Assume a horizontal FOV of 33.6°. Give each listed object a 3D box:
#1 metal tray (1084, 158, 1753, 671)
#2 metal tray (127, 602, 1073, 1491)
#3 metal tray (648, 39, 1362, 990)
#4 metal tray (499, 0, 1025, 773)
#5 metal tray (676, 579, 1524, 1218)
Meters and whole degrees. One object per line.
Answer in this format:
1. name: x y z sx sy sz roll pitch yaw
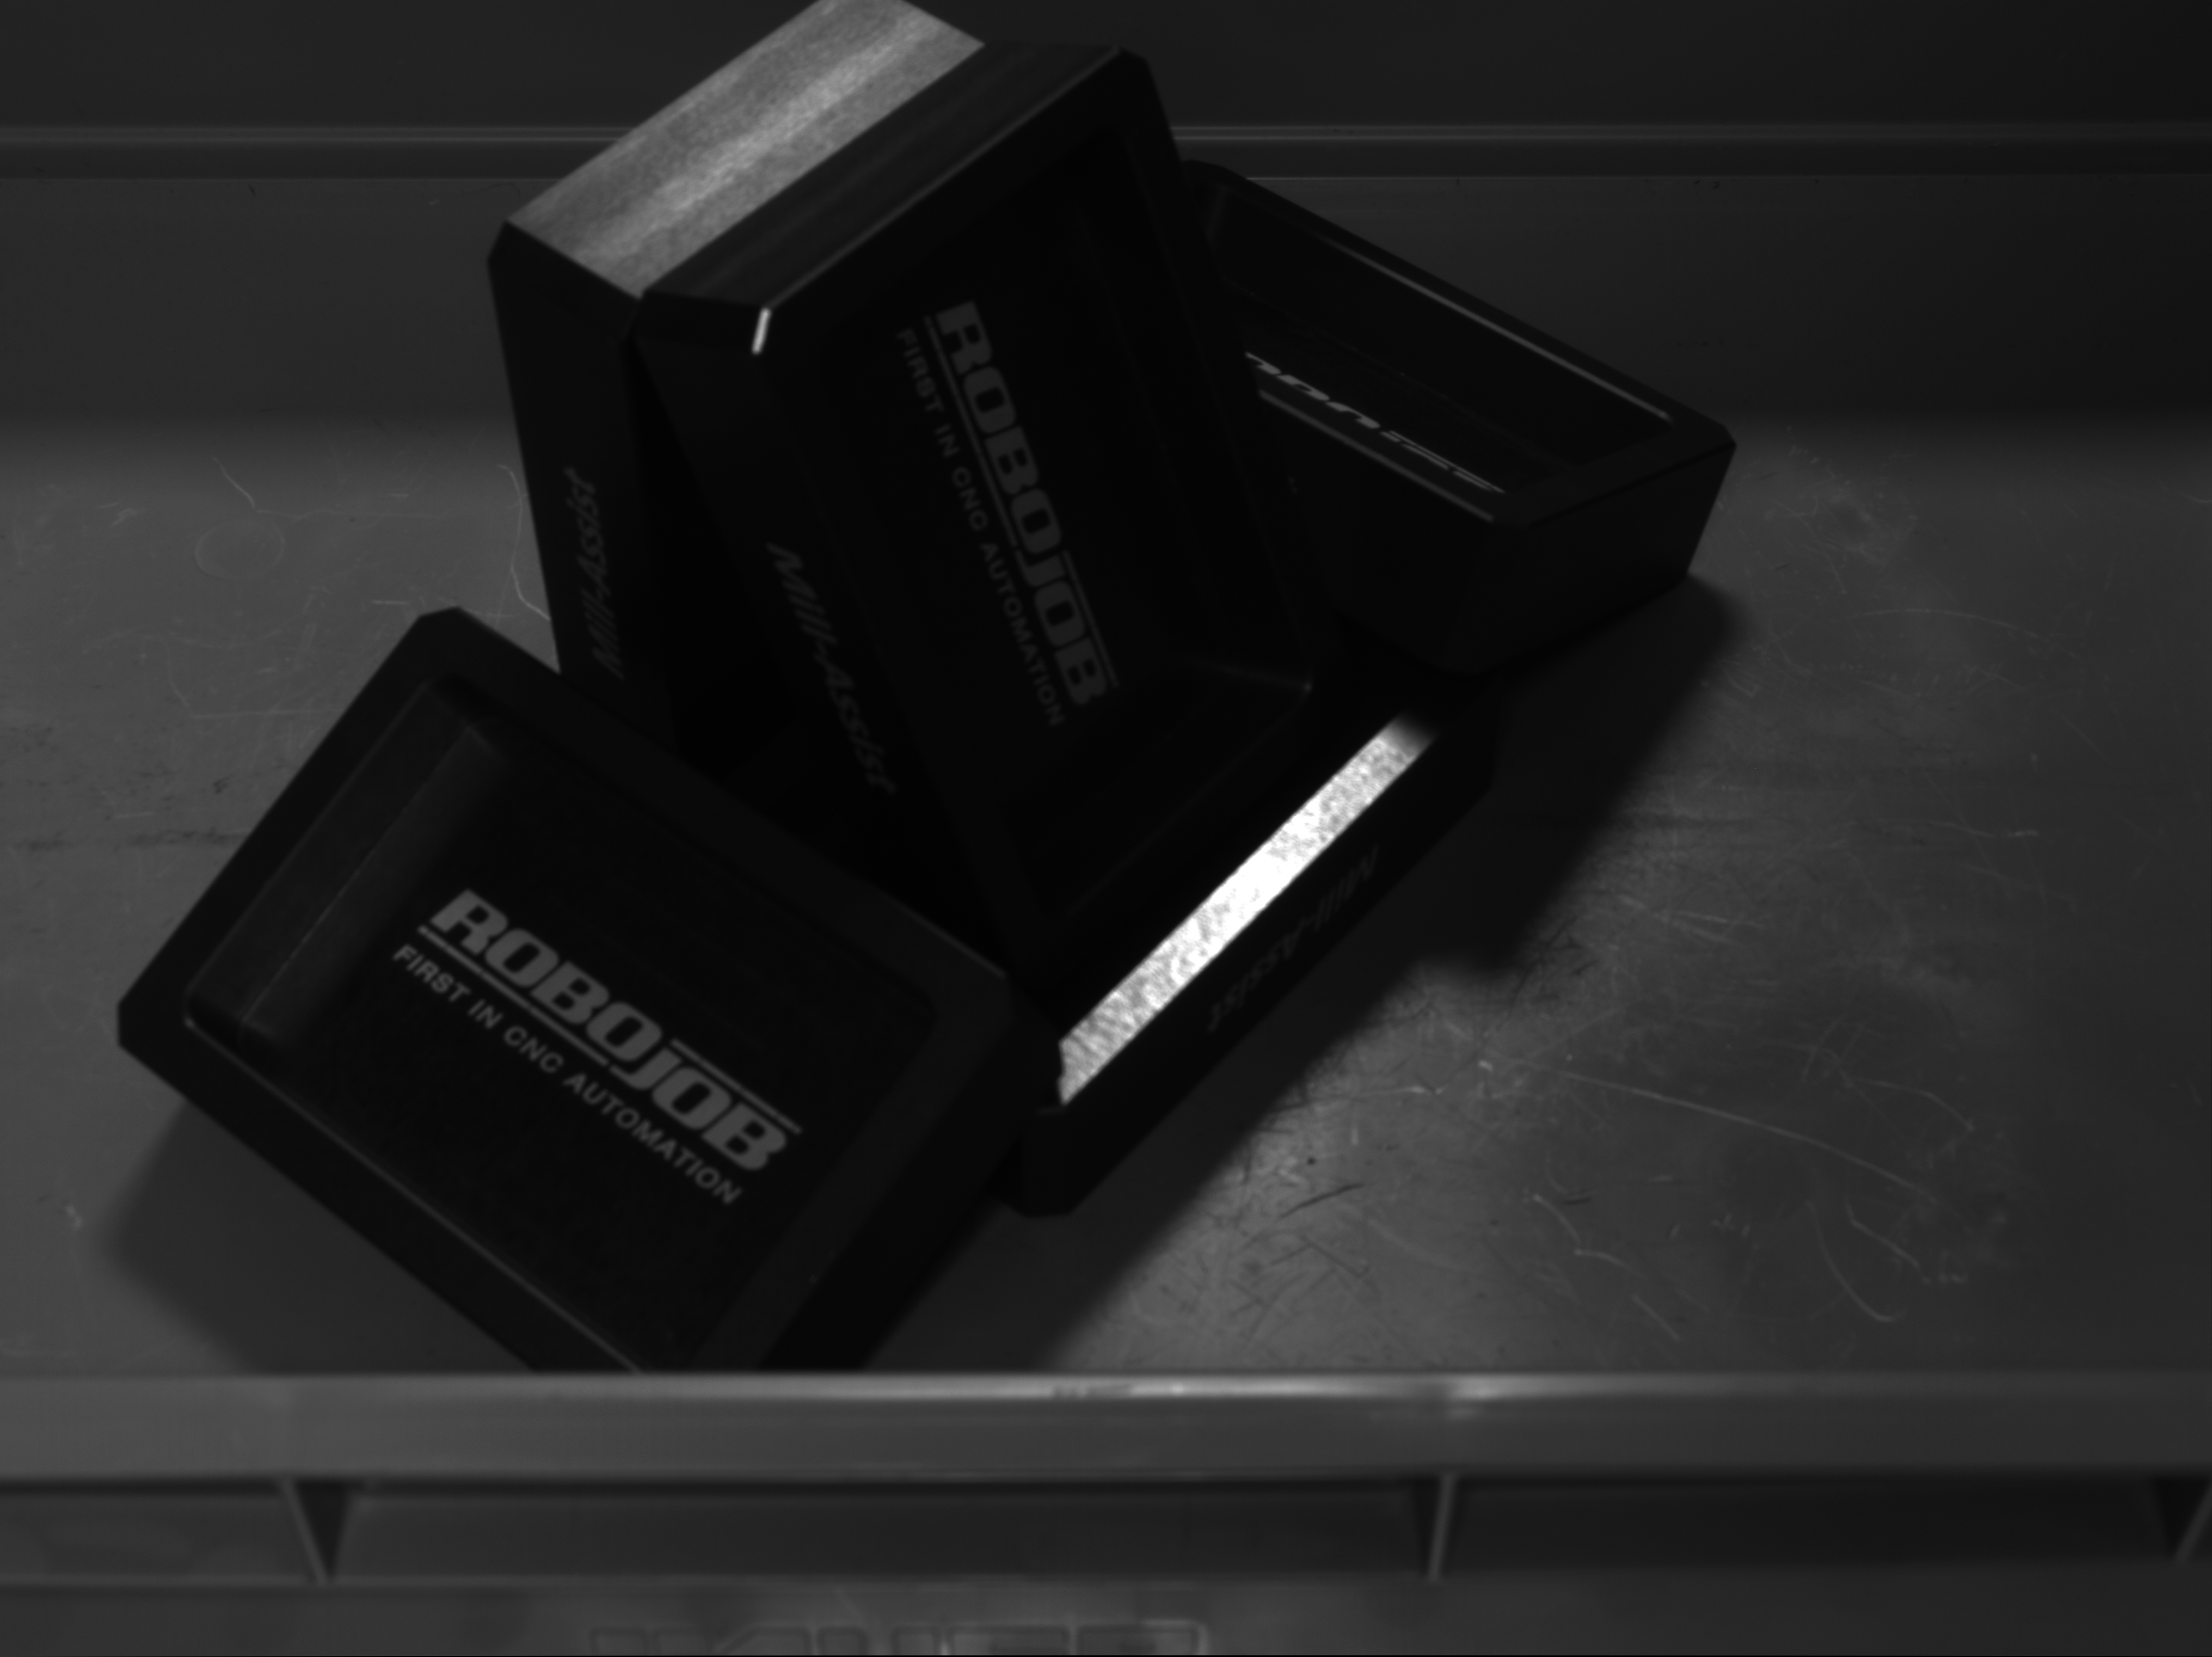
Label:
1. metal tray: 0.043 -0.081 0.683 0.130 0.030 0.090 32 31 24
2. metal tray: -0.082 0.033 0.587 0.130 0.030 0.090 33 81 24
3. metal tray: -0.012 -0.051 0.599 0.030 0.130 0.090 15 47 43
4. metal tray: -0.053 -0.069 0.629 0.030 0.130 0.090 32 57 25
5. metal tray: 0.000 -0.003 0.639 0.090 0.030 0.130 32 57 24
